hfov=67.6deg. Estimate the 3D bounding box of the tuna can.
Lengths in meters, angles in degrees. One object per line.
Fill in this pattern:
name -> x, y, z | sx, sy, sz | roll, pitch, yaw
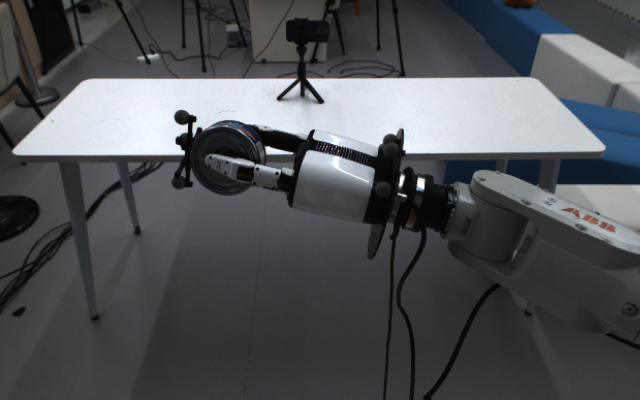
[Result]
tuna can -> -0.107, -0.050, 0.576 | 0.085, 0.085, 0.034 | 4, 18, 3
